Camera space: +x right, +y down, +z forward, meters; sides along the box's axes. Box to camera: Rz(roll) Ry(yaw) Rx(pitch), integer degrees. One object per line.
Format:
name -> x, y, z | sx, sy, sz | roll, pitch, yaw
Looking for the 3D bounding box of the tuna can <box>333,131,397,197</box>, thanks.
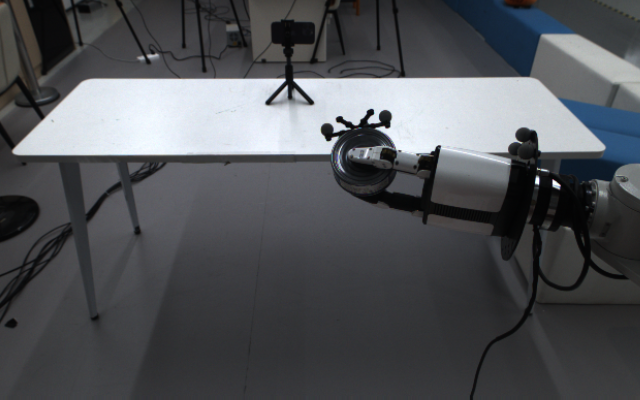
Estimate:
tuna can -> 0.061, -0.045, 0.626 | 0.085, 0.034, 0.085 | -4, 68, 9
